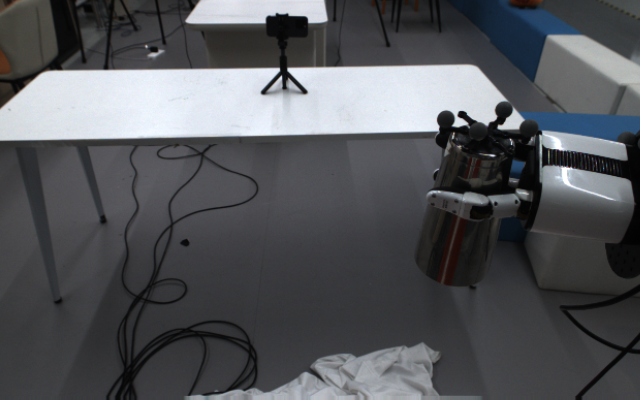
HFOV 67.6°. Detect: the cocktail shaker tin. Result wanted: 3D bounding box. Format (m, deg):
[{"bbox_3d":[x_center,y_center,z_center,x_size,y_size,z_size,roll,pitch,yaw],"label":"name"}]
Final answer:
[{"bbox_3d":[0.168,0.002,0.548,0.093,0.170,0.093,1,39,0],"label":"cocktail shaker tin"}]
